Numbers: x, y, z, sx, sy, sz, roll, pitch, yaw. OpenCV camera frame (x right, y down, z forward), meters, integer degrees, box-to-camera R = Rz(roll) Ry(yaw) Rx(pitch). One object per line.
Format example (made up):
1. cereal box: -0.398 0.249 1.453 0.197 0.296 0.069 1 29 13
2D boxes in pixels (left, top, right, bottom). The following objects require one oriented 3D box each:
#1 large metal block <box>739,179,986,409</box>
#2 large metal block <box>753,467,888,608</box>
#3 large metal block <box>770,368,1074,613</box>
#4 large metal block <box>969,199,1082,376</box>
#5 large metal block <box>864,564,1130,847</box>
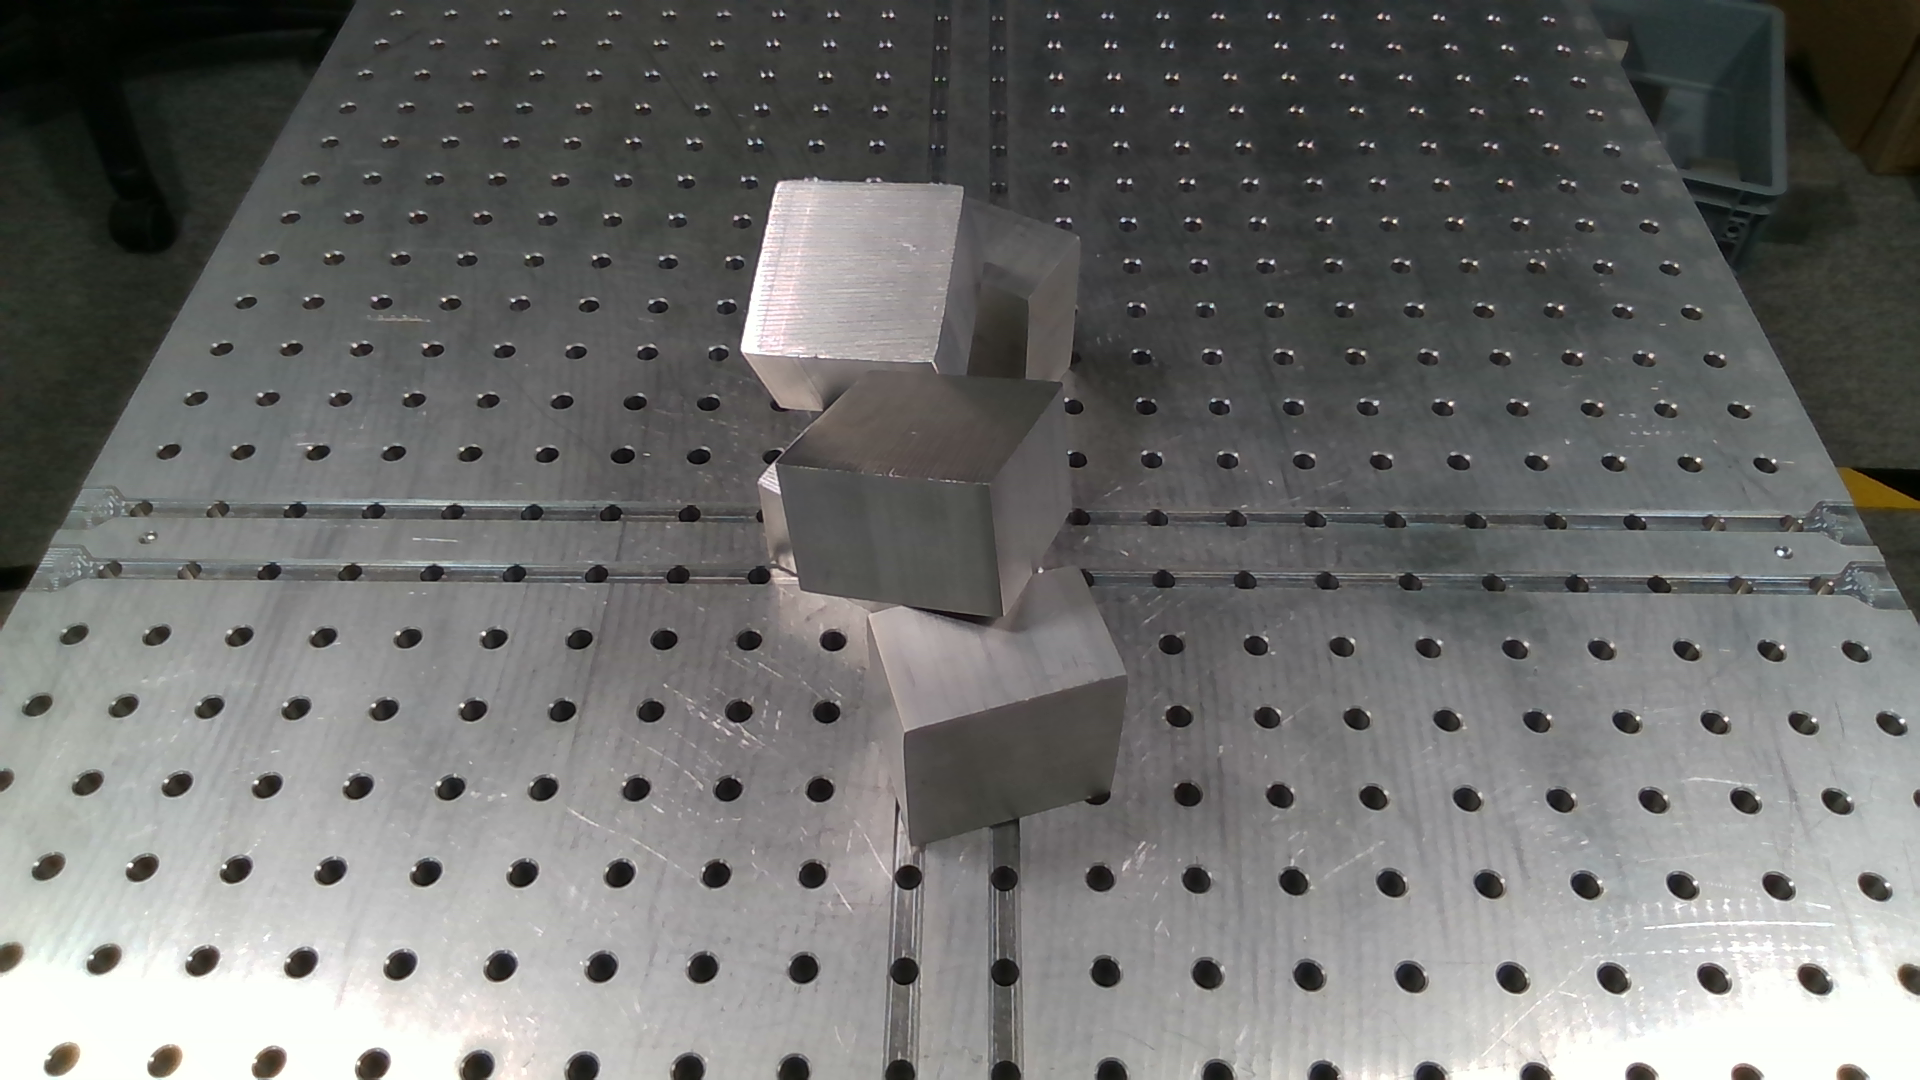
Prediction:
1. large metal block: -0.038 -0.100 0.572 0.080 0.050 0.080 5 71 13
2. large metal block: -0.029 -0.018 0.588 0.080 0.050 0.080 26 55 20
3. large metal block: -0.011 -0.021 0.500 0.080 0.050 0.080 6 34 22
4. large metal block: 0.007 -0.109 0.645 0.080 0.080 0.050 24 54 19
5. large metal block: 0.012 0.061 0.503 0.080 0.080 0.050 -13 51 -10
